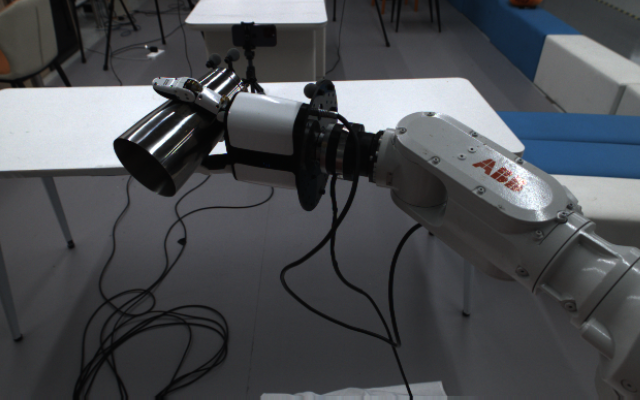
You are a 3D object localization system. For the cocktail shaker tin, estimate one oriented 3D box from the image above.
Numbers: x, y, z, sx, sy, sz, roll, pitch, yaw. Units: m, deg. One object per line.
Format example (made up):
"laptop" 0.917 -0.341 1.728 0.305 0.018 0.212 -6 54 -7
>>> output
"cocktail shaker tin" -0.163 -0.099 0.613 0.093 0.093 0.170 19 55 23
